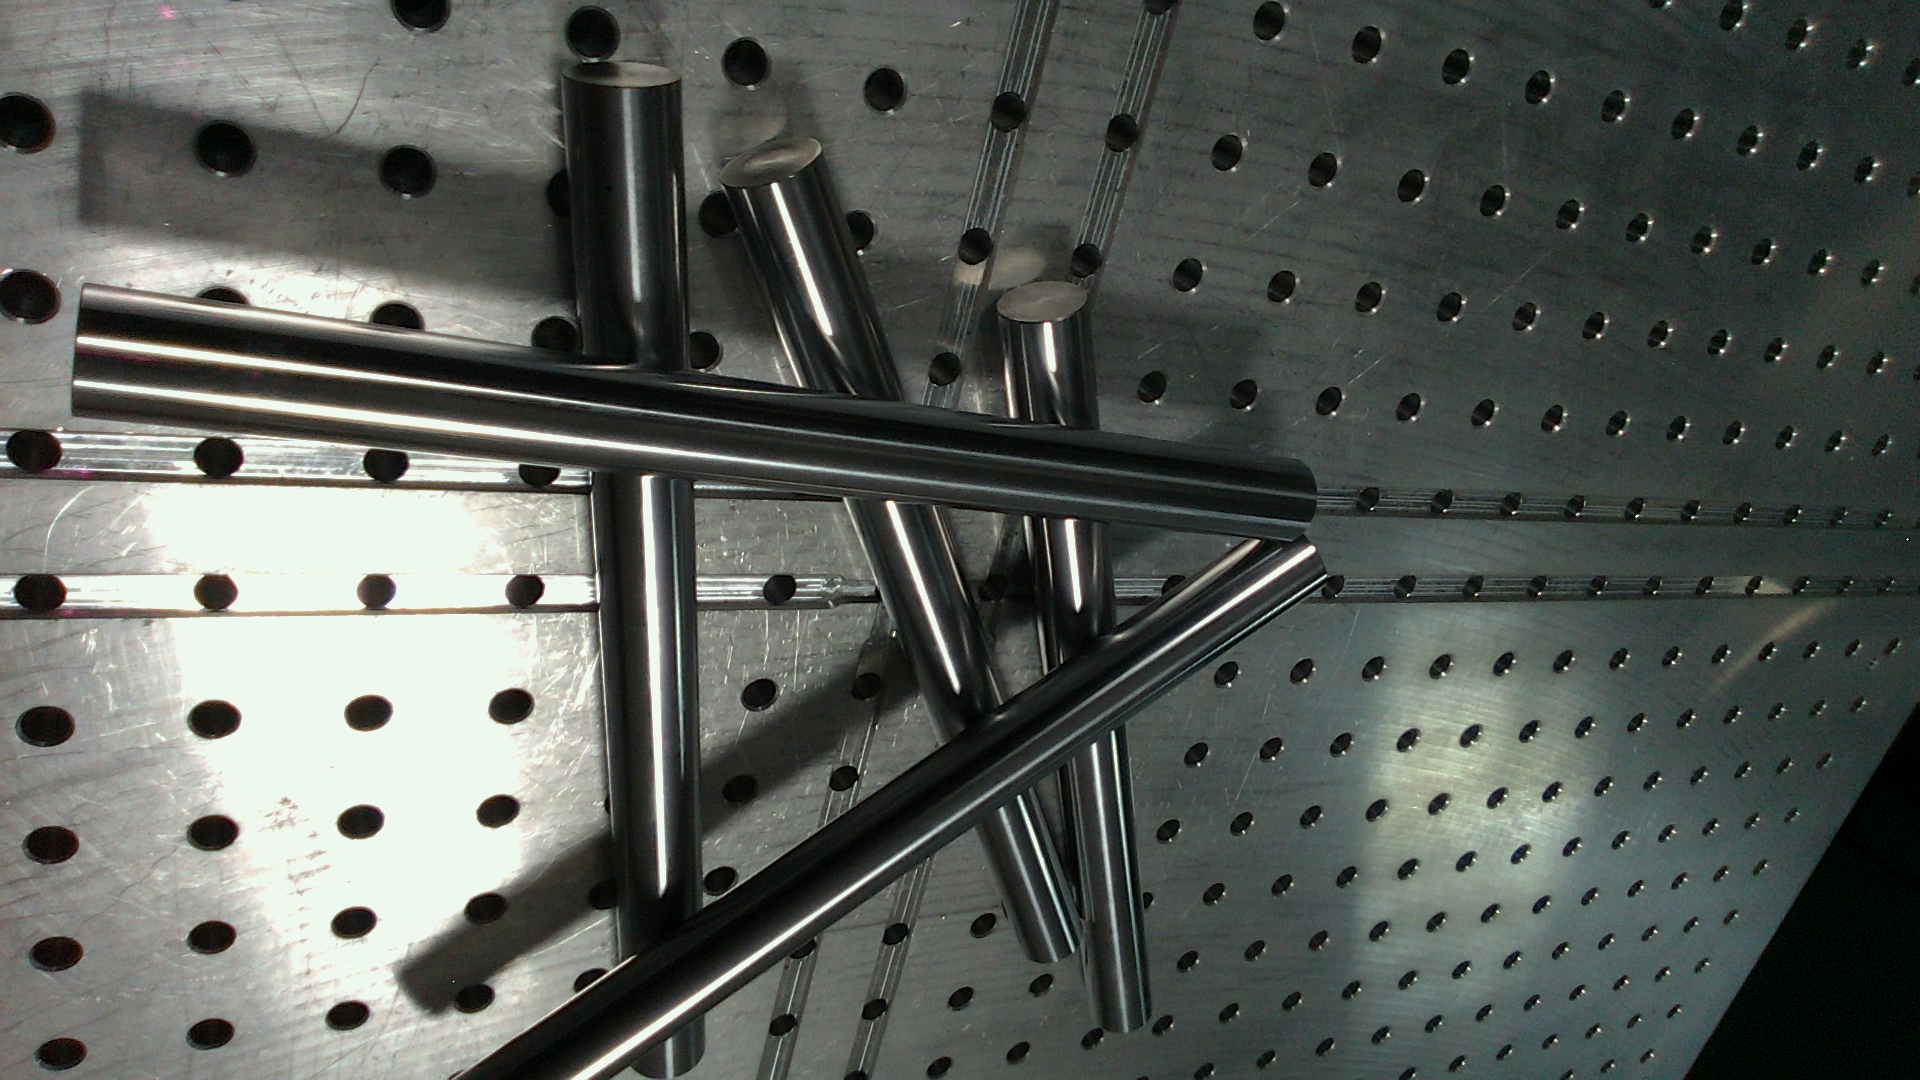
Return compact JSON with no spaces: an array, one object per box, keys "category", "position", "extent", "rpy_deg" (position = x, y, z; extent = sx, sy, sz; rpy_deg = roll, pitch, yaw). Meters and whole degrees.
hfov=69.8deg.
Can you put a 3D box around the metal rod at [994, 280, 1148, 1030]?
[{"category":"metal rod","position":[0.042,0.058,0.450],"extent":[0.025,0.025,0.300],"rpy_deg":[-21,126,-16]}]

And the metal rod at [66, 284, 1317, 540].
[{"category":"metal rod","position":[-0.033,-0.023,0.328],"extent":[0.301,0.025,0.025],"rpy_deg":[5,116,-31]}]

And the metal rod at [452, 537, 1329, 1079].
[{"category":"metal rod","position":[-0.020,0.085,0.401],"extent":[0.300,0.025,0.025],"rpy_deg":[-34,129,-6]}]

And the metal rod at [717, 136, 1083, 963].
[{"category":"metal rod","position":[-0.006,0.027,0.405],"extent":[0.025,0.025,0.300],"rpy_deg":[-27,128,-11]}]

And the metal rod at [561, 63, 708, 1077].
[{"category":"metal rod","position":[-0.082,0.031,0.366],"extent":[0.025,0.025,0.300],"rpy_deg":[-9,122,-23]}]
